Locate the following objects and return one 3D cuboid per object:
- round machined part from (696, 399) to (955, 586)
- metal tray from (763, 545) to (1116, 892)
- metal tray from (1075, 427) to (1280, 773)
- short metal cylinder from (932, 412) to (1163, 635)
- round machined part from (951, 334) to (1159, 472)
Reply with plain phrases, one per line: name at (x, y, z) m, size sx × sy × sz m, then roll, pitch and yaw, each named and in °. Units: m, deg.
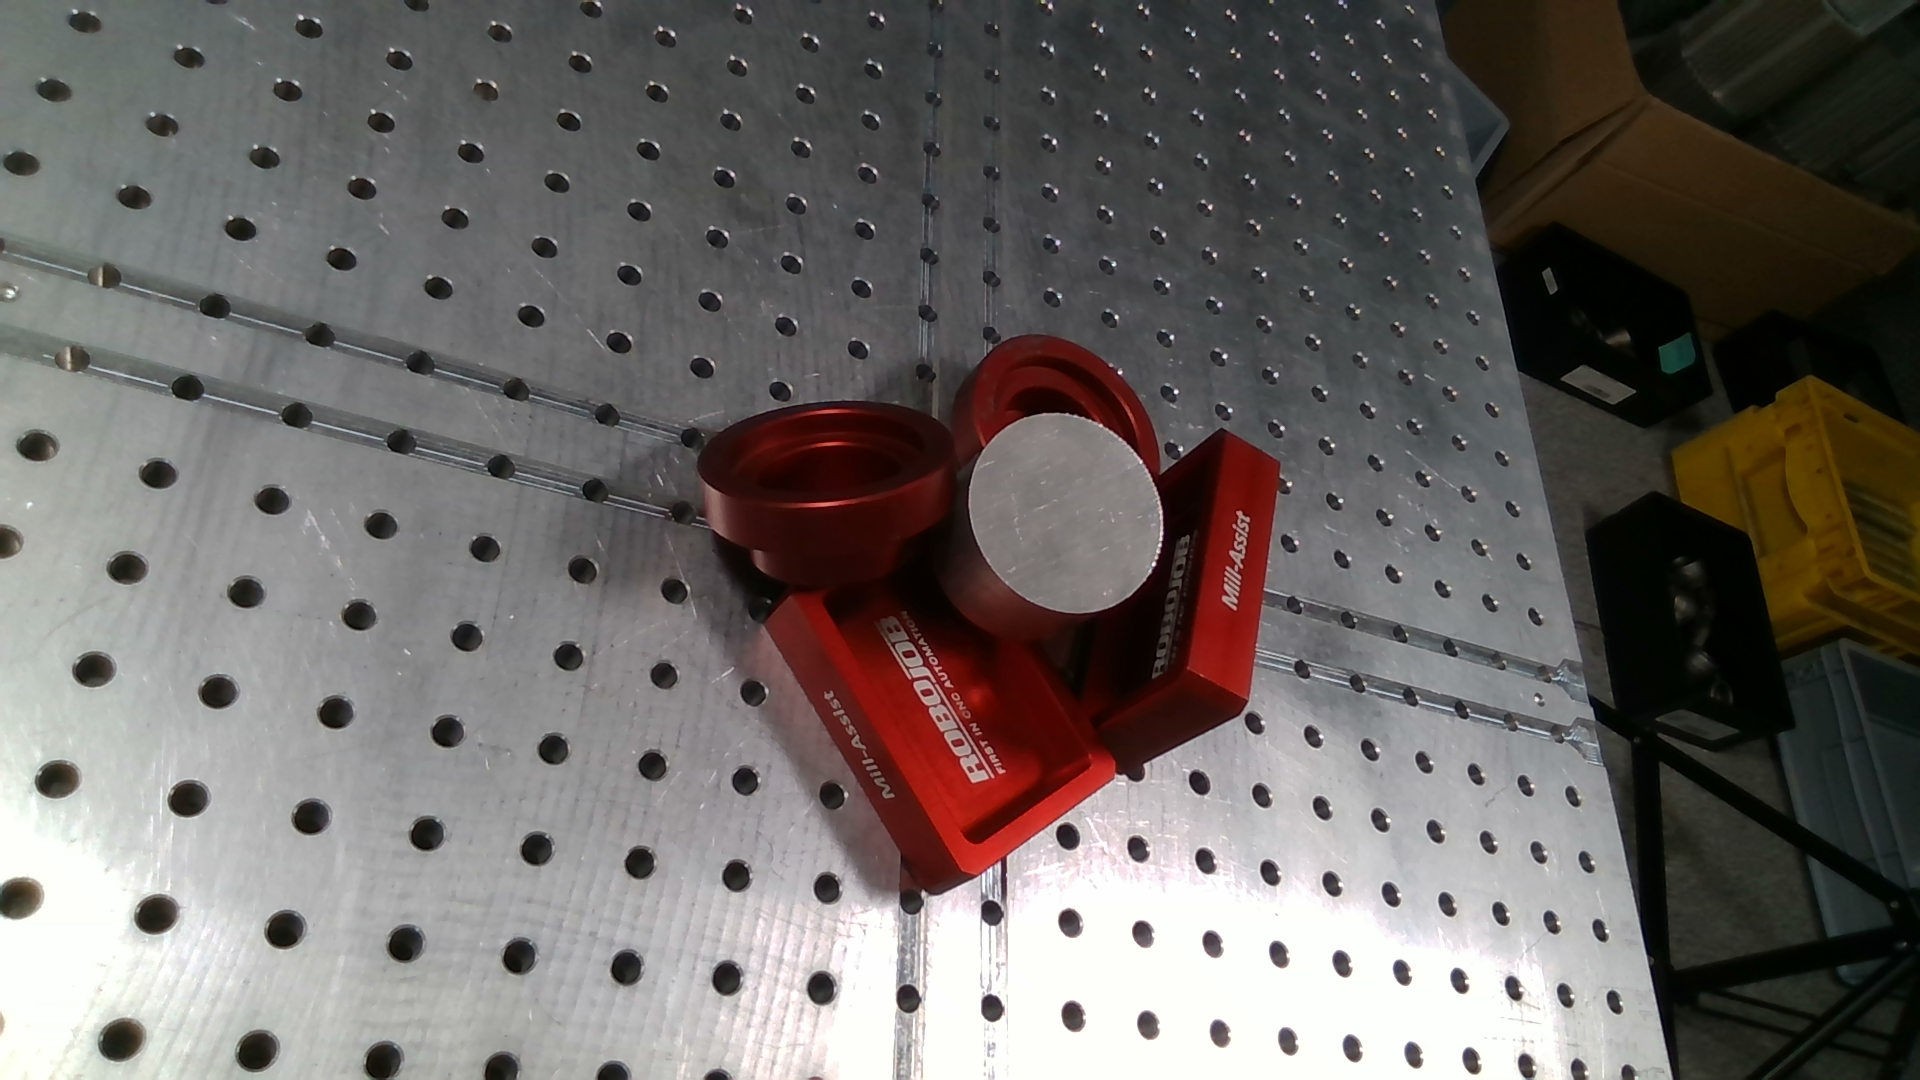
round machined part at (-0.050, -0.017, 0.534) m, size 0.098 × 0.042 × 0.098 m, roll -2°, pitch 28°, yaw 1°
metal tray at (-0.007, 0.061, 0.548) m, size 0.090 × 0.030 × 0.130 m, roll -26°, pitch 81°, yaw -38°
metal tray at (0.090, 0.026, 0.588) m, size 0.030 × 0.090 × 0.130 m, roll 28°, pitch 54°, yaw -16°
short metal cylinder at (0.033, -0.005, 0.548) m, size 0.080 × 0.050 × 0.080 m, roll 5°, pitch 73°, yaw -19°
round machined part at (0.039, -0.041, 0.624) m, size 0.098 × 0.042 × 0.098 m, roll 14°, pitch 59°, yaw -25°
